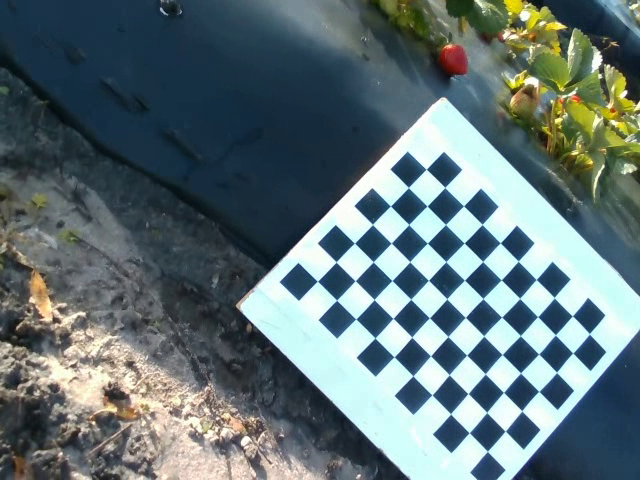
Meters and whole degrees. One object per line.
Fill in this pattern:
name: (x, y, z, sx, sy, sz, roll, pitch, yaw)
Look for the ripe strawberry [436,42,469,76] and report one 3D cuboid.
ripe strawberry: (0.135, -0.175, 0.595, 0.030, 0.045, 0.033, -17, -33, -5)
